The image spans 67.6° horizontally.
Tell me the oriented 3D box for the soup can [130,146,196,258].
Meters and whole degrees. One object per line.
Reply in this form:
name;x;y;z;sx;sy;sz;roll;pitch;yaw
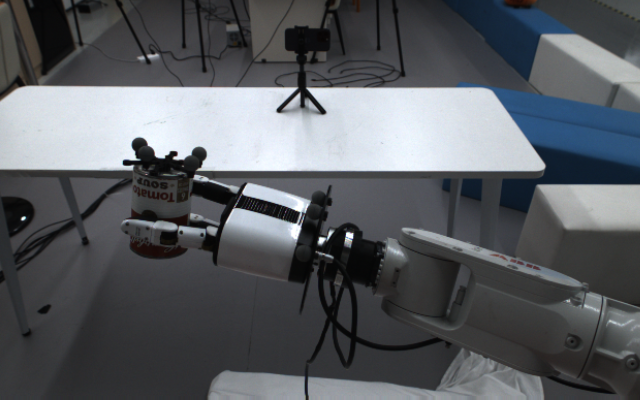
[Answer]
soup can;-0.185;0.010;0.569;0.067;0.101;0.067;8;20;-3
